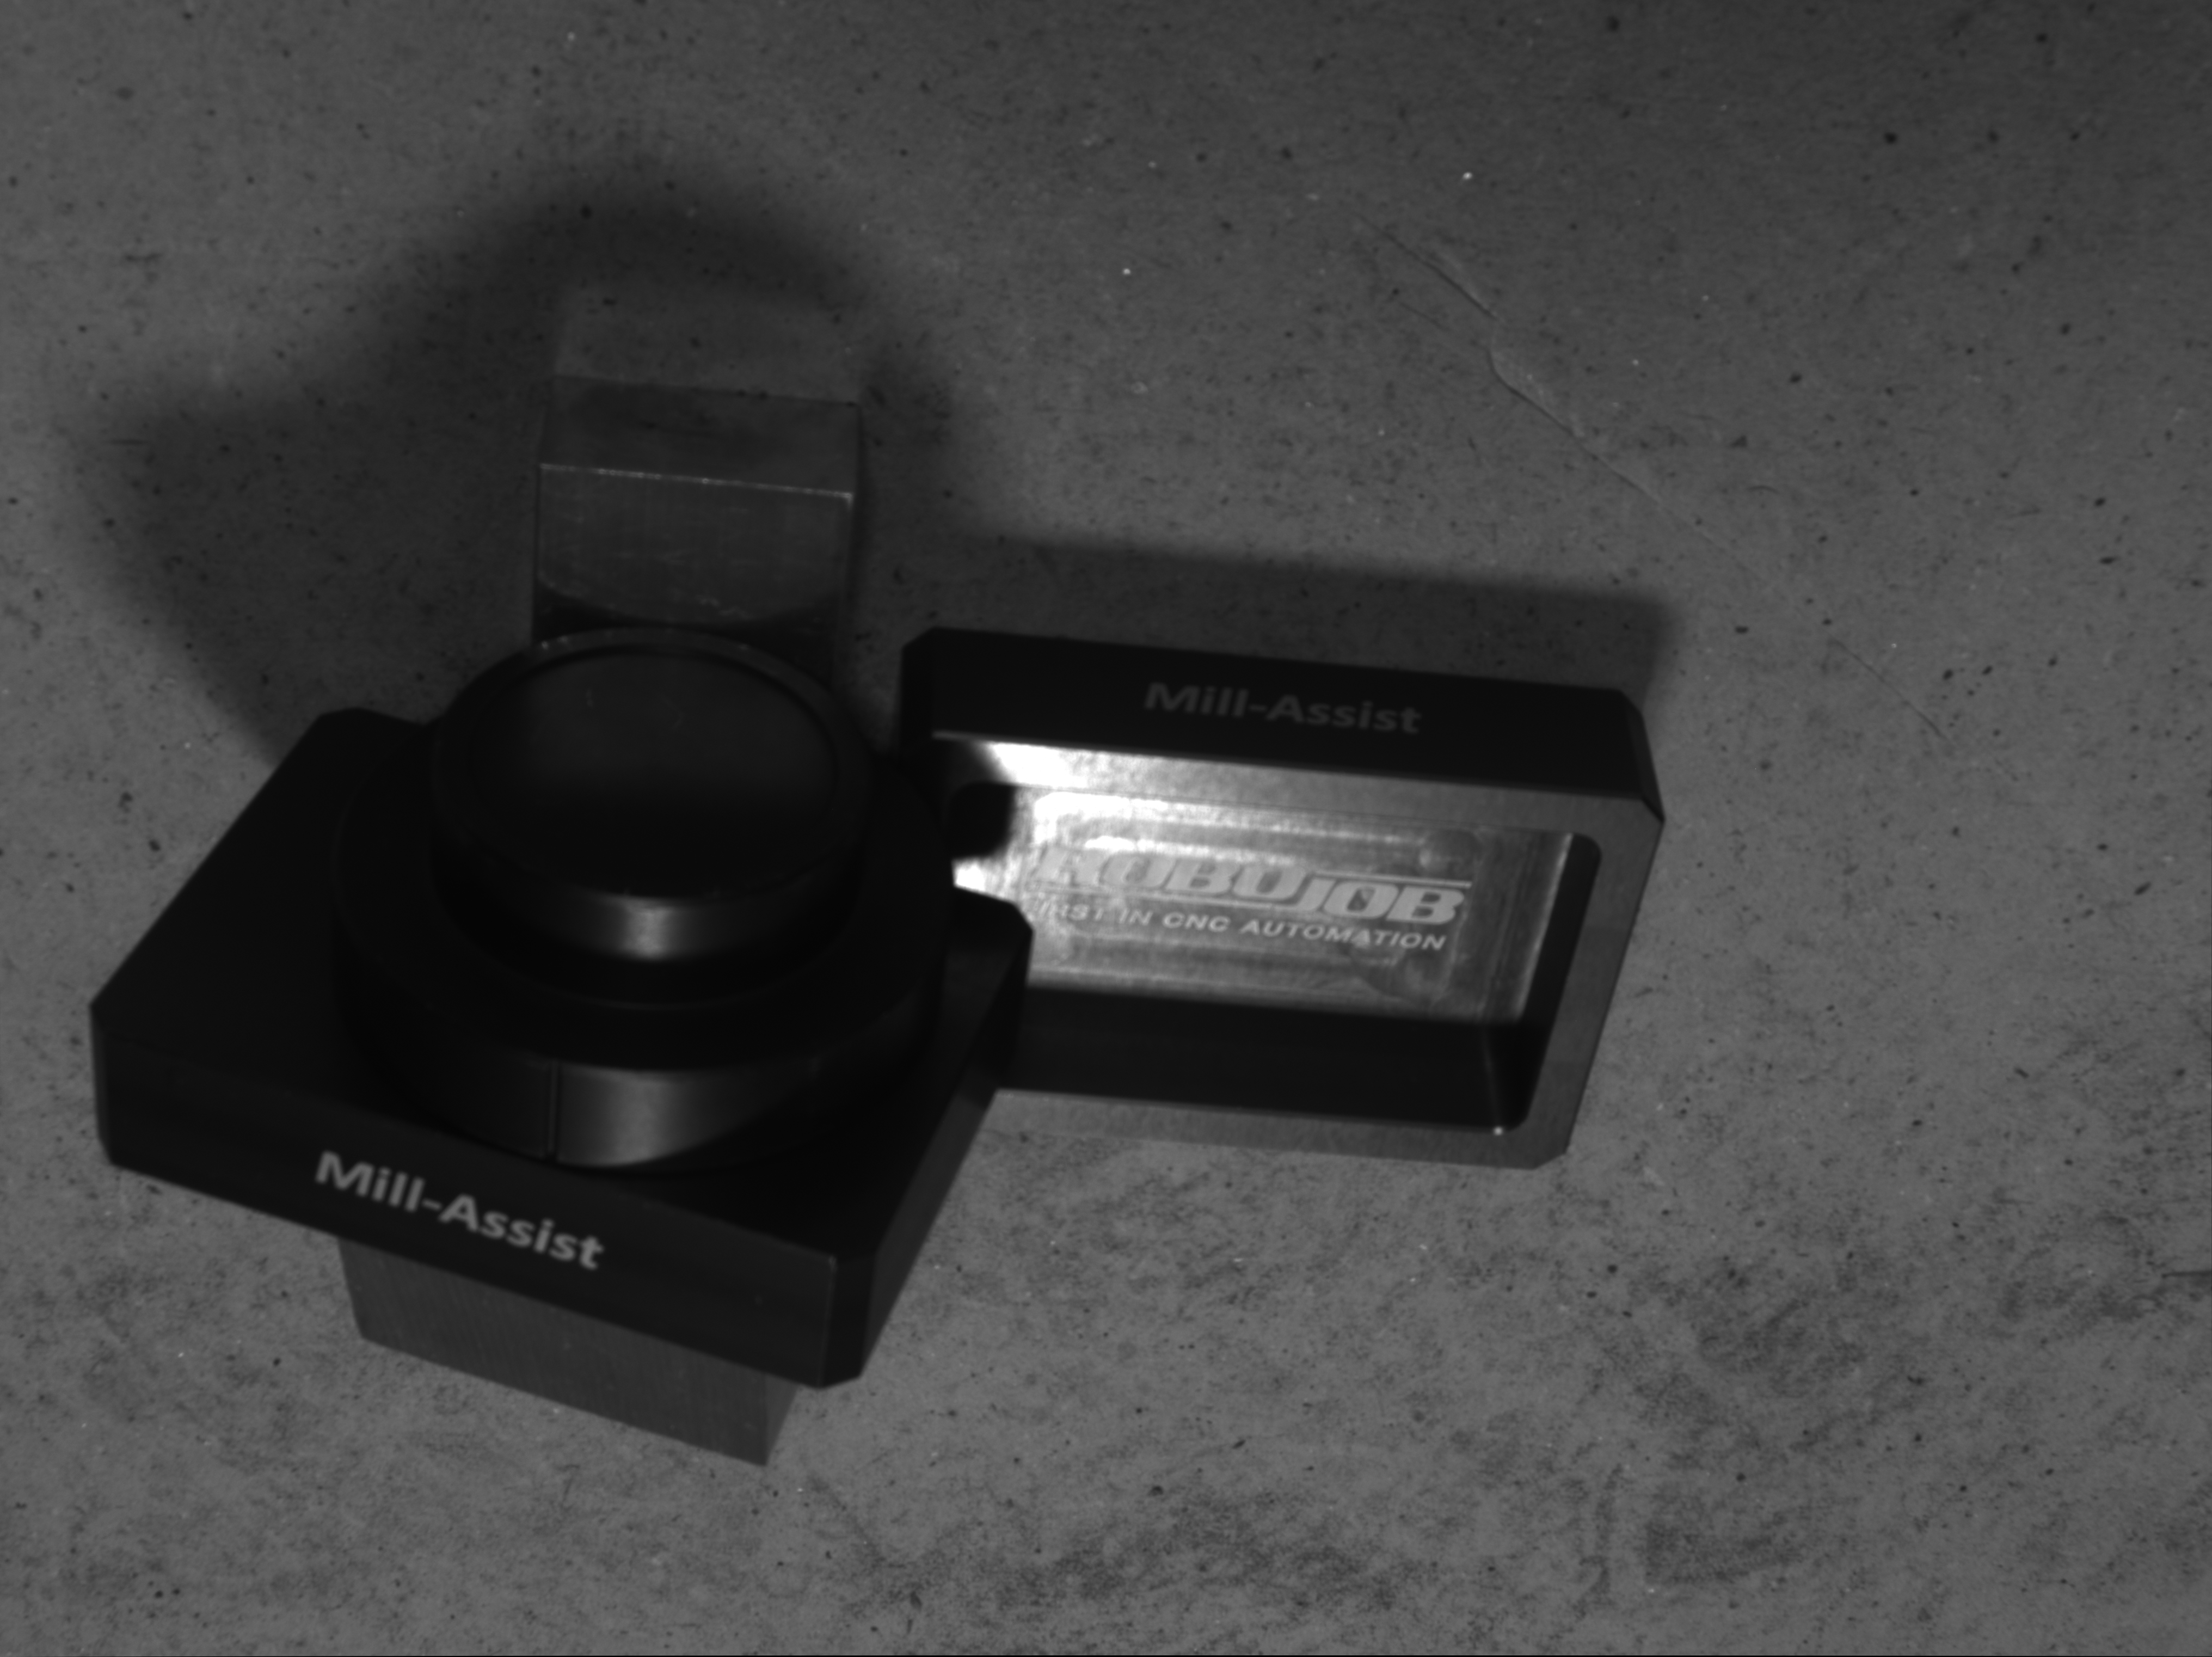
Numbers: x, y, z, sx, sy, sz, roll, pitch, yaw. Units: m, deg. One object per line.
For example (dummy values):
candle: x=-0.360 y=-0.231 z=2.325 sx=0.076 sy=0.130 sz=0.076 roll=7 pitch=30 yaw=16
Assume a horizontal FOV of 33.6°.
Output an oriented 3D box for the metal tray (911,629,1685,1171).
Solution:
metal tray: x=0.028 y=0.014 z=0.648 sx=0.130 sy=0.030 sz=0.090 roll=5 pitch=130 yaw=-6

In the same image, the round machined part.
round machined part: x=-0.070 y=0.006 z=0.580 sx=0.098 sy=0.098 sz=0.042 roll=5 pitch=130 yaw=-6

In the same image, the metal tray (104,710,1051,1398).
metal tray: x=-0.084 y=0.034 z=0.599 sx=0.130 sy=0.090 sz=0.030 roll=17 pitch=130 yaw=8

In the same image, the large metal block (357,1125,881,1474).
large metal block: x=-0.086 y=0.062 z=0.647 sx=0.080 sy=0.050 sz=0.080 roll=16 pitch=143 yaw=8

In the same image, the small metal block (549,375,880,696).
small metal block: x=-0.065 y=-0.044 z=0.600 sx=0.050 sy=0.025 sz=0.050 roll=5 pitch=130 yaw=-6
